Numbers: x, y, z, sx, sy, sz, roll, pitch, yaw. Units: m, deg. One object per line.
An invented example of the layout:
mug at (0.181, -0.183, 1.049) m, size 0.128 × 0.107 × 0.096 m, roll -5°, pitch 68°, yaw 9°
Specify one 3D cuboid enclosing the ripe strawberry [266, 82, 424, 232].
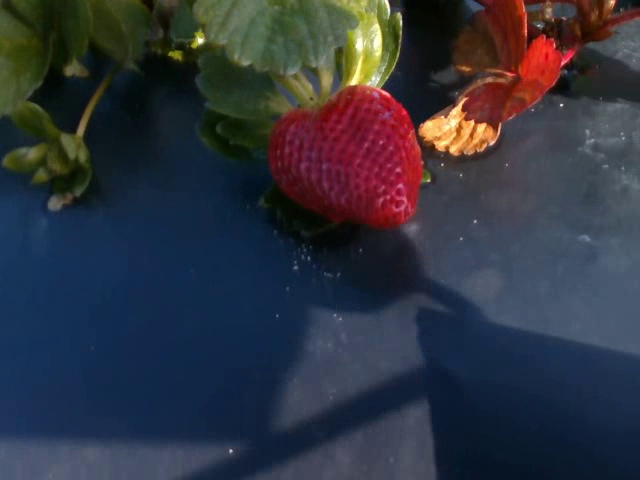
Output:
ripe strawberry at (0.007, -0.018, 0.149) m, size 0.041 × 0.040 × 0.056 m, roll 45°, pitch 10°, yaw -33°
